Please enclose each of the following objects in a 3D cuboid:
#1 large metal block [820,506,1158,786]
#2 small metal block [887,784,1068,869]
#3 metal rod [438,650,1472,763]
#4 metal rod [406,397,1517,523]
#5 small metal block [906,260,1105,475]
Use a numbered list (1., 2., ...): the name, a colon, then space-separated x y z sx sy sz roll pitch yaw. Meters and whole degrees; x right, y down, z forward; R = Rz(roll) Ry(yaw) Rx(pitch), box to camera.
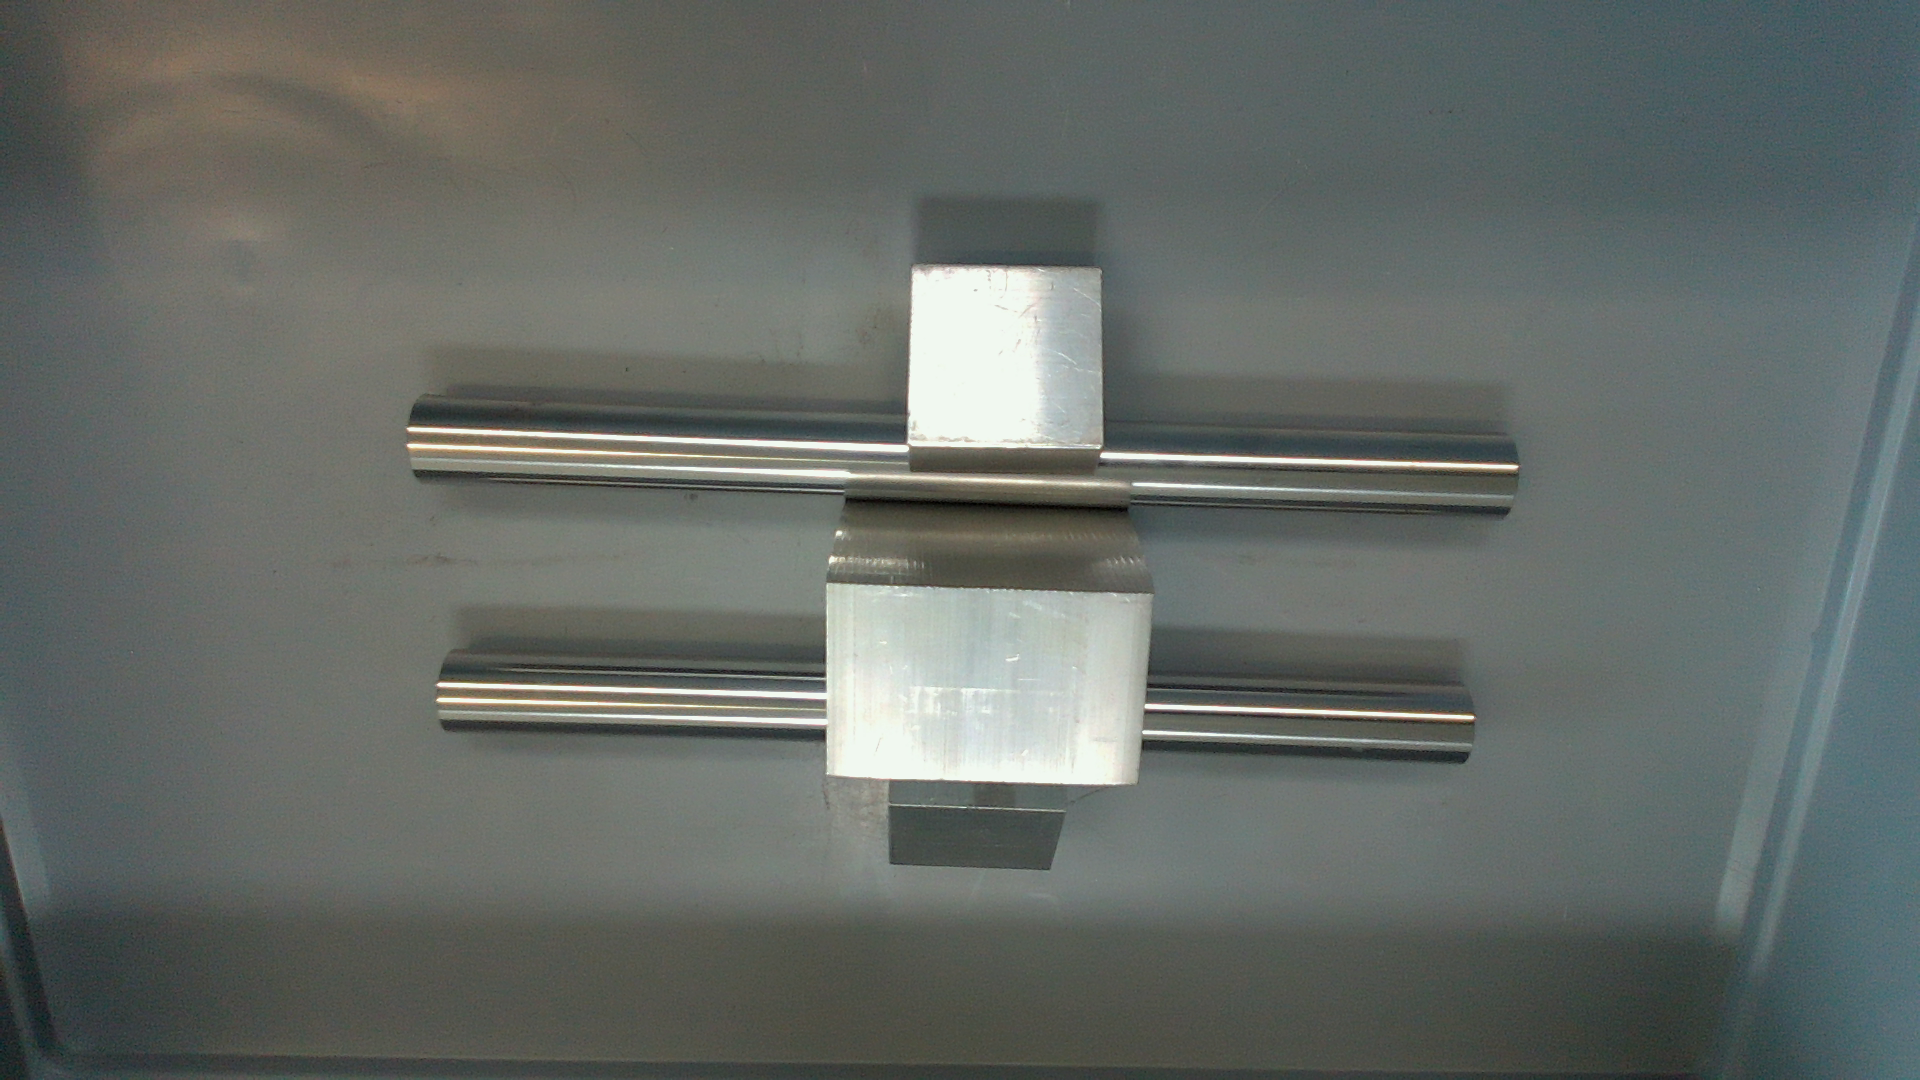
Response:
1. large metal block: 0.006 0.023 0.371 0.080 0.080 0.050 2 110 -1
2. small metal block: 0.004 0.077 0.408 0.050 0.025 0.050 2 148 -1
3. metal rod: -0.001 0.050 0.411 0.300 0.025 0.025 2 110 -1
4. metal rod: 0.001 -0.022 0.384 0.300 0.025 0.025 2 110 -1
5. small metal block: 0.012 -0.045 0.364 0.050 0.025 0.050 1 76 -1
